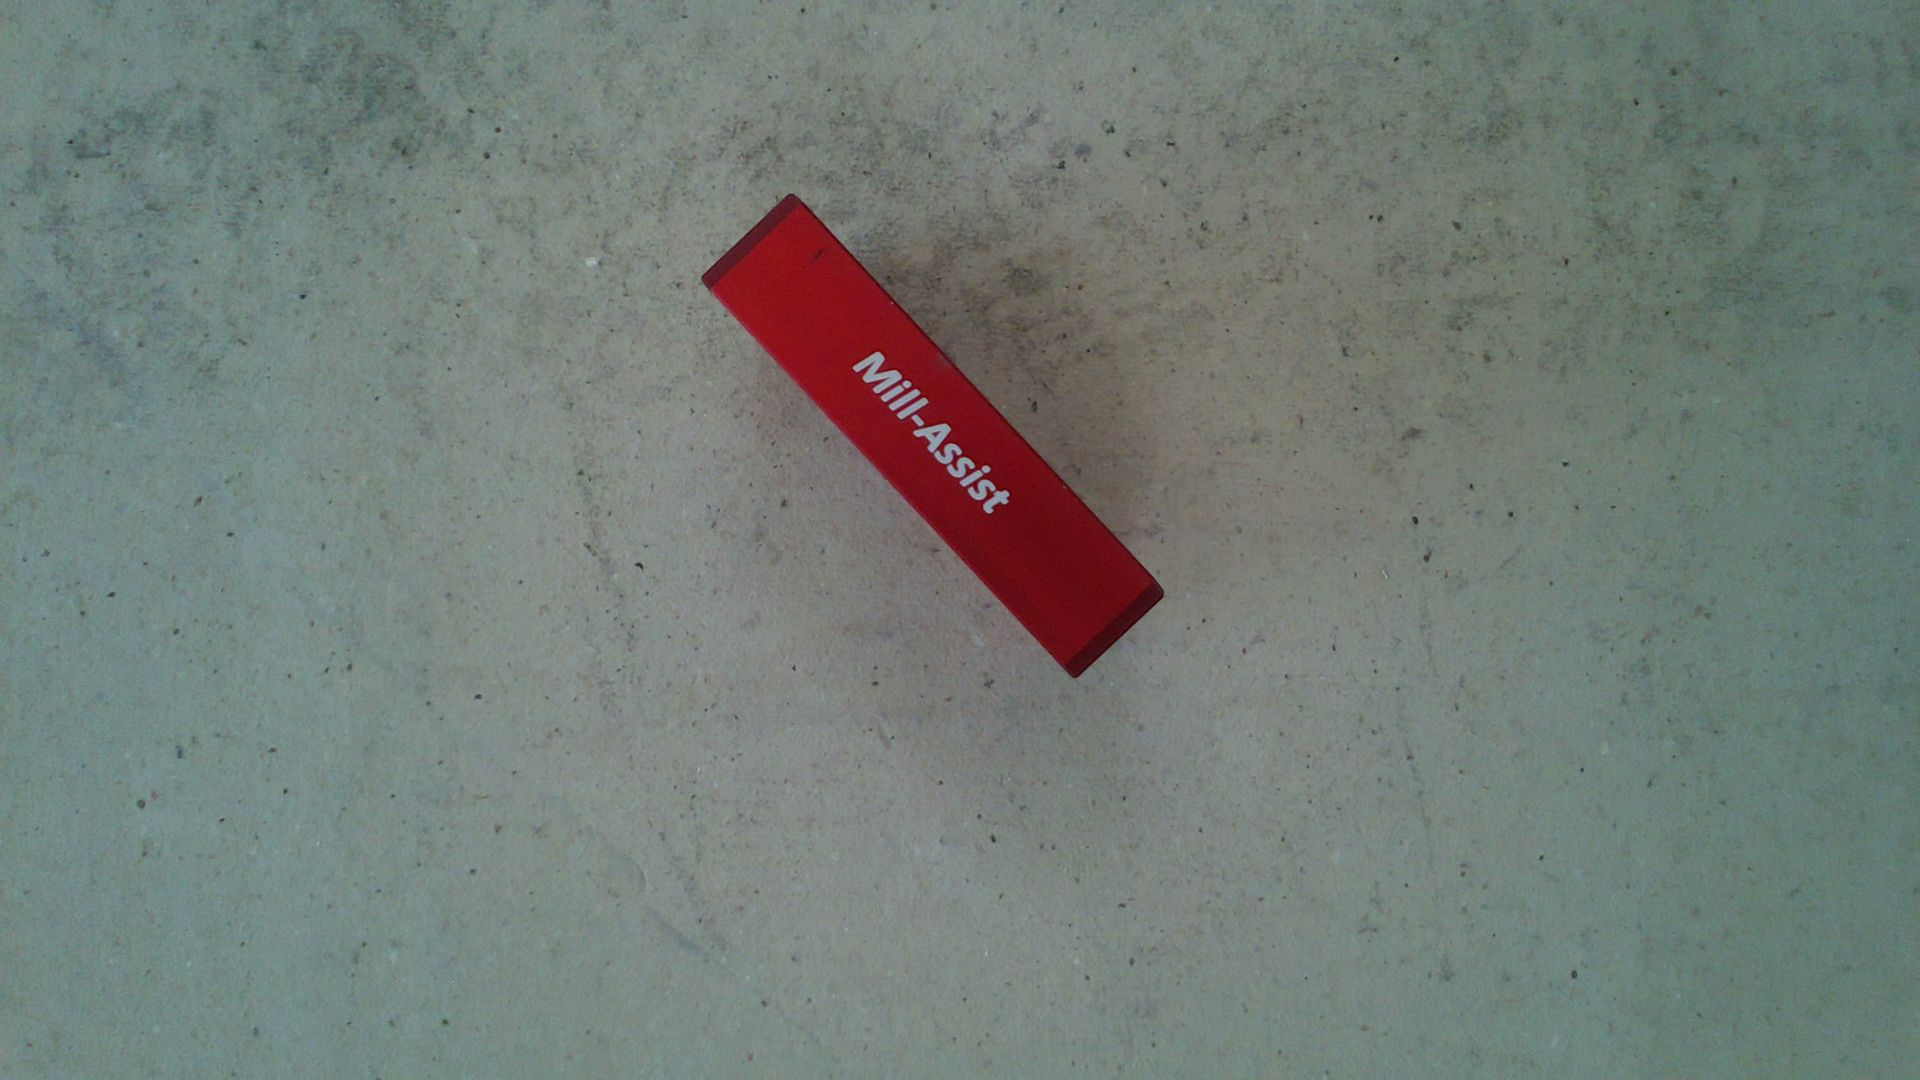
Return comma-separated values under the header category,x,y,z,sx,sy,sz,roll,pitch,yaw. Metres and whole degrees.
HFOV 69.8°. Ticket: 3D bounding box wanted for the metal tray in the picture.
category,x,y,z,sx,sy,sz,roll,pitch,yaw
metal tray,-0.006,-0.024,0.362,0.030,0.090,0.130,-43,91,0
